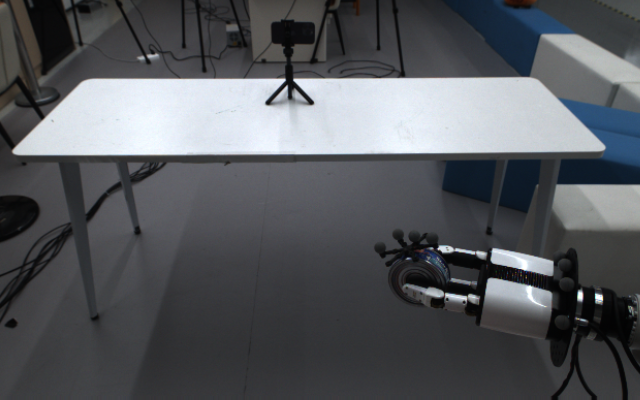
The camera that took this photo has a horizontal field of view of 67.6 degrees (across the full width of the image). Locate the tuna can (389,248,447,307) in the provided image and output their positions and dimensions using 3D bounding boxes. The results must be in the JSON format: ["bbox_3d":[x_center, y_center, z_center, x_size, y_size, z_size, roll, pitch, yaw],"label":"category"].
[{"bbox_3d":[0.146,0.111,0.704,0.085,0.085,0.034,15,30,17],"label":"tuna can"}]
